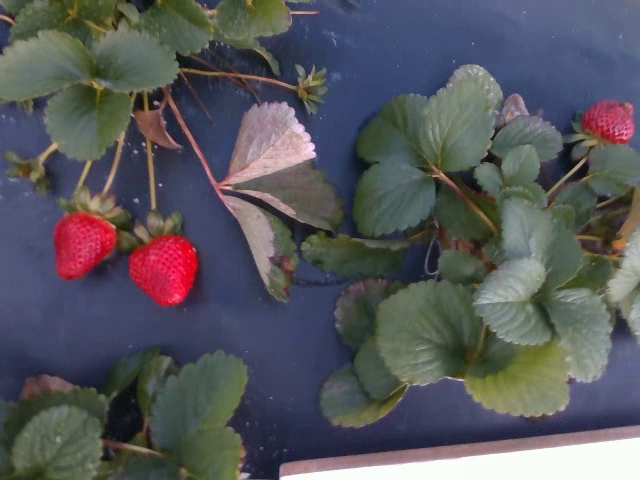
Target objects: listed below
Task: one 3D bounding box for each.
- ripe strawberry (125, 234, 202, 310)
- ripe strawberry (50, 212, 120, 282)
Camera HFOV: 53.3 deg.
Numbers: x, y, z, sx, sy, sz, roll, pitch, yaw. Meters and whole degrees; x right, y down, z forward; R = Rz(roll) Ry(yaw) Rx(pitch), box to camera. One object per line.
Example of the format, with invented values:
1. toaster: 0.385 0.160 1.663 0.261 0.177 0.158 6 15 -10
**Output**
1. ripe strawberry: -0.117 0.024 0.457 0.057 0.064 0.051 -25 -33 -3
2. ripe strawberry: -0.176 0.005 0.462 0.048 0.056 0.041 9 -24 -1
